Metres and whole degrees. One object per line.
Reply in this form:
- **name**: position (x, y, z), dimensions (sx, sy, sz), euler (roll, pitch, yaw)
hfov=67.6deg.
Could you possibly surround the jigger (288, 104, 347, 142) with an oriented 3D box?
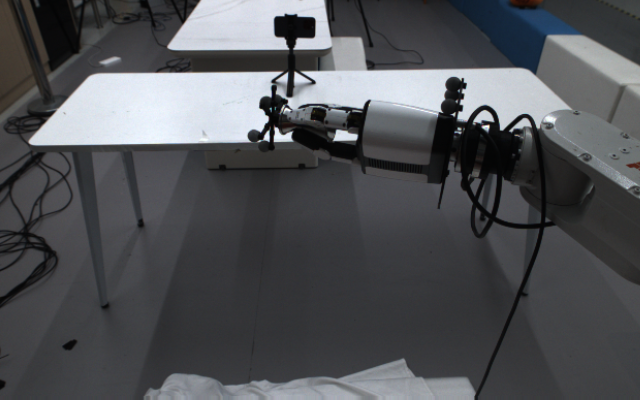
- **jigger**: position (-0.014, -0.107, 0.640), dimensions (0.071, 0.043, 0.043), euler (9, 35, 16)
